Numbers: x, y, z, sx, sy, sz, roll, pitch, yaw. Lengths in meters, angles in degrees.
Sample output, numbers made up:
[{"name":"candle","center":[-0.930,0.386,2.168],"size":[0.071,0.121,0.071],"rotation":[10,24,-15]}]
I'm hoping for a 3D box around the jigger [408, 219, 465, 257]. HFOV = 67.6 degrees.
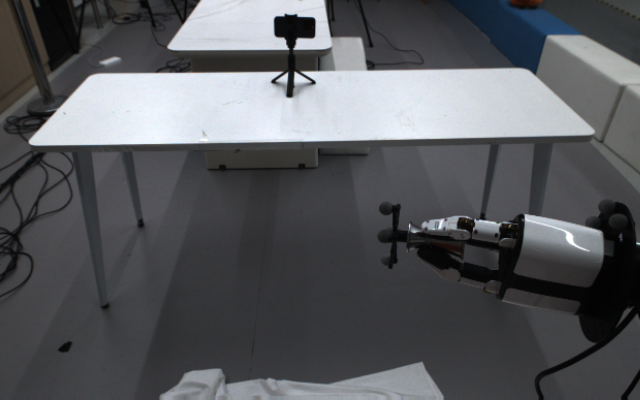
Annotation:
[{"name":"jigger","center":[0.152,0.044,0.604],"size":[0.071,0.043,0.043],"rotation":[3,34,15]}]
